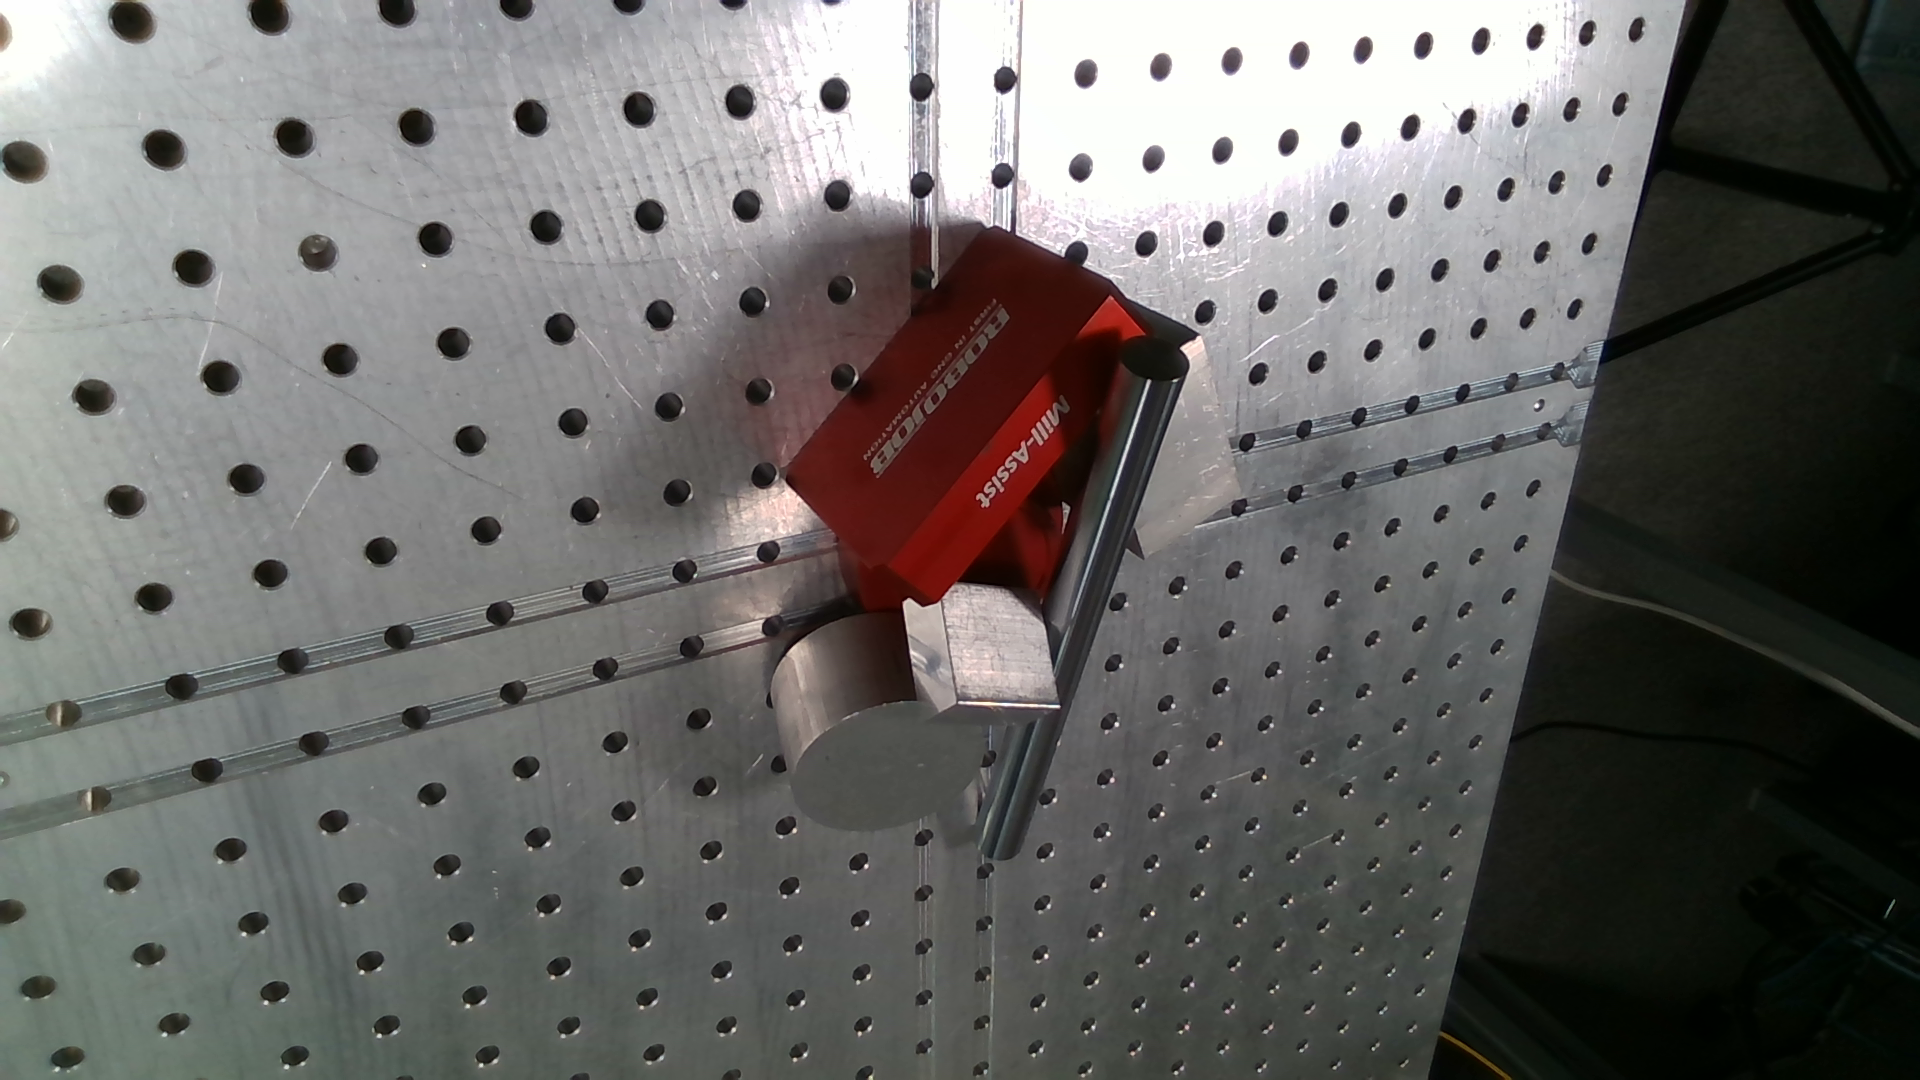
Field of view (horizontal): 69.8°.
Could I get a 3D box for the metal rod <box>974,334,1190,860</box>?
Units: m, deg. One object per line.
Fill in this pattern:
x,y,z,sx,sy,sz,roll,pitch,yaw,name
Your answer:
0.042,0.042,0.571,0.025,0.025,0.301,-15,141,-25,metal rod

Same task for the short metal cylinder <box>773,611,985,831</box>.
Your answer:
-0.035,0.076,0.572,0.080,0.050,0.080,-11,134,-11,short metal cylinder

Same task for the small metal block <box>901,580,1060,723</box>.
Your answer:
0.008,0.045,0.540,0.050,0.050,0.025,7,153,-36,small metal block

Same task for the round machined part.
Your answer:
0.001,0.002,0.578,0.098,0.042,0.098,-14,122,-25,round machined part

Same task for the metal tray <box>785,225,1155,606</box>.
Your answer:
0.001,-0.049,0.515,0.130,0.090,0.030,-50,129,1,metal tray

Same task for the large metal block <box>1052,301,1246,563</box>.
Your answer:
0.064,-0.050,0.558,0.050,0.080,0.080,-33,127,-13,large metal block
